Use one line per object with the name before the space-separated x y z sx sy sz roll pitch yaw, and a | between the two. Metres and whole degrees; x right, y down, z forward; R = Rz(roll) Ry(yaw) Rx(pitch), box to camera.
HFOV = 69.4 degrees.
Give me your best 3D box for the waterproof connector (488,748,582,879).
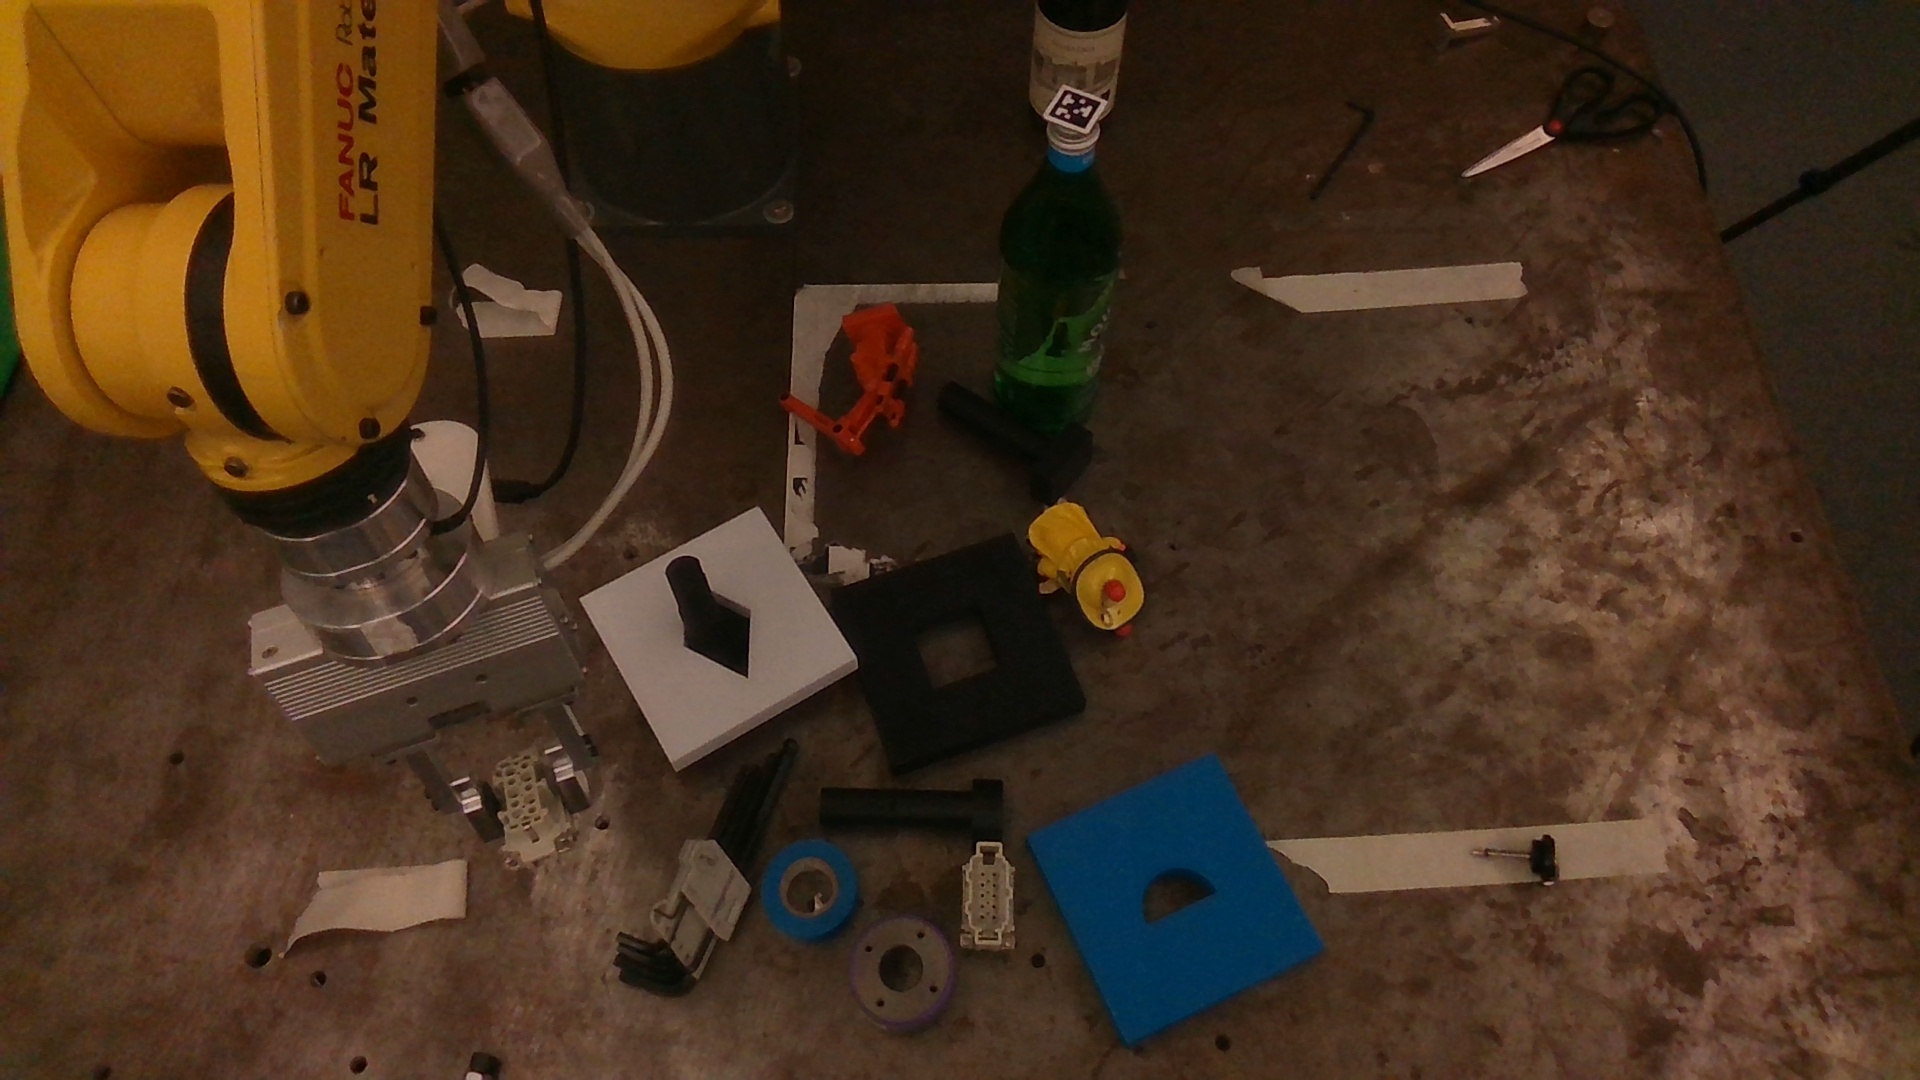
waterproof connector | -0.217 0.136 0.701 0.037 0.038 0.069 -23 47 -3
